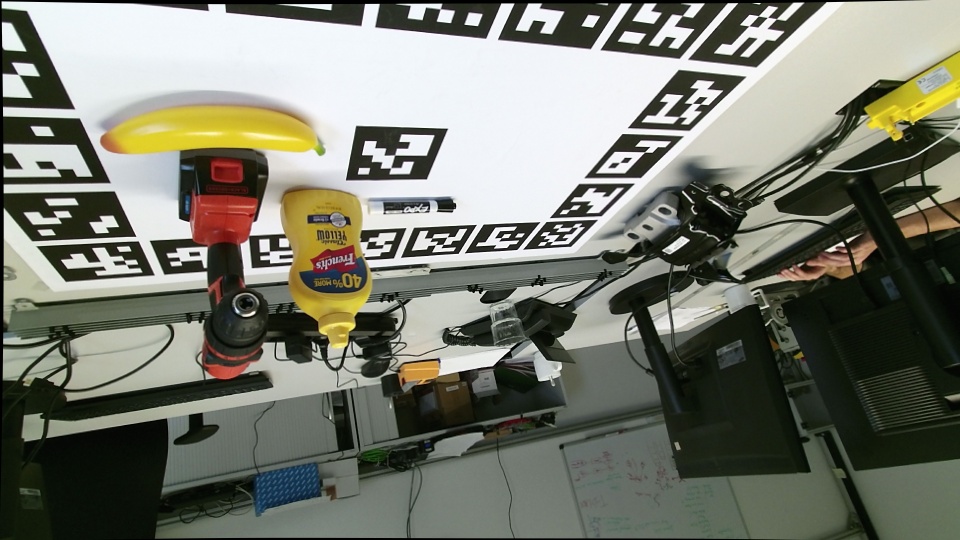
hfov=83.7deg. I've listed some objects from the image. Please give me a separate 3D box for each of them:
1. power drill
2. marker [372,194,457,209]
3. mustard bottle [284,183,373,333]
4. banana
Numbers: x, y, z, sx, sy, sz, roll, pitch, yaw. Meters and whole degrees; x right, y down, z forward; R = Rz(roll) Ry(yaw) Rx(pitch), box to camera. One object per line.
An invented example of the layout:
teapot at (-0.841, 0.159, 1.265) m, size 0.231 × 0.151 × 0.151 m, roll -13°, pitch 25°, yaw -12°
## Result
power drill at (-0.256, -0.021, 0.556) m, size 0.057 × 0.186 × 0.185 m, roll 4°, pitch 153°, yaw -34°
marker at (-0.089, -0.096, 0.747) m, size 0.121 × 0.019 × 0.019 m, roll -4°, pitch 153°, yaw -24°
mustard bottle at (-0.182, -0.014, 0.657) m, size 0.096 × 0.190 × 0.058 m, roll 1°, pitch 152°, yaw -32°
banana at (-0.243, -0.146, 0.524) m, size 0.198 × 0.038 × 0.074 m, roll -3°, pitch 152°, yaw -30°
